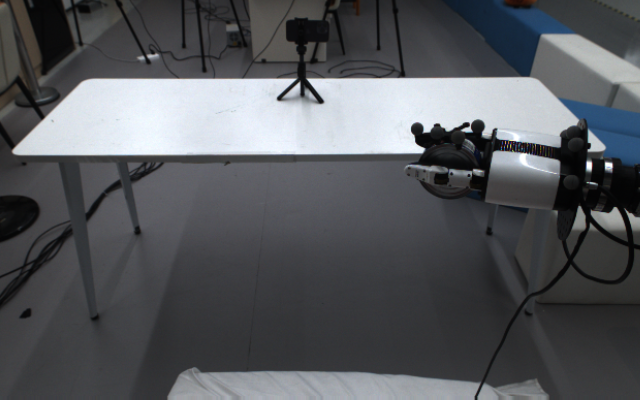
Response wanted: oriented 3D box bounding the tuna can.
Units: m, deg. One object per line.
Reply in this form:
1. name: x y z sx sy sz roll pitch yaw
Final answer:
1. tuna can: 0.182 -0.047 0.676 0.085 0.085 0.034 15 35 17
